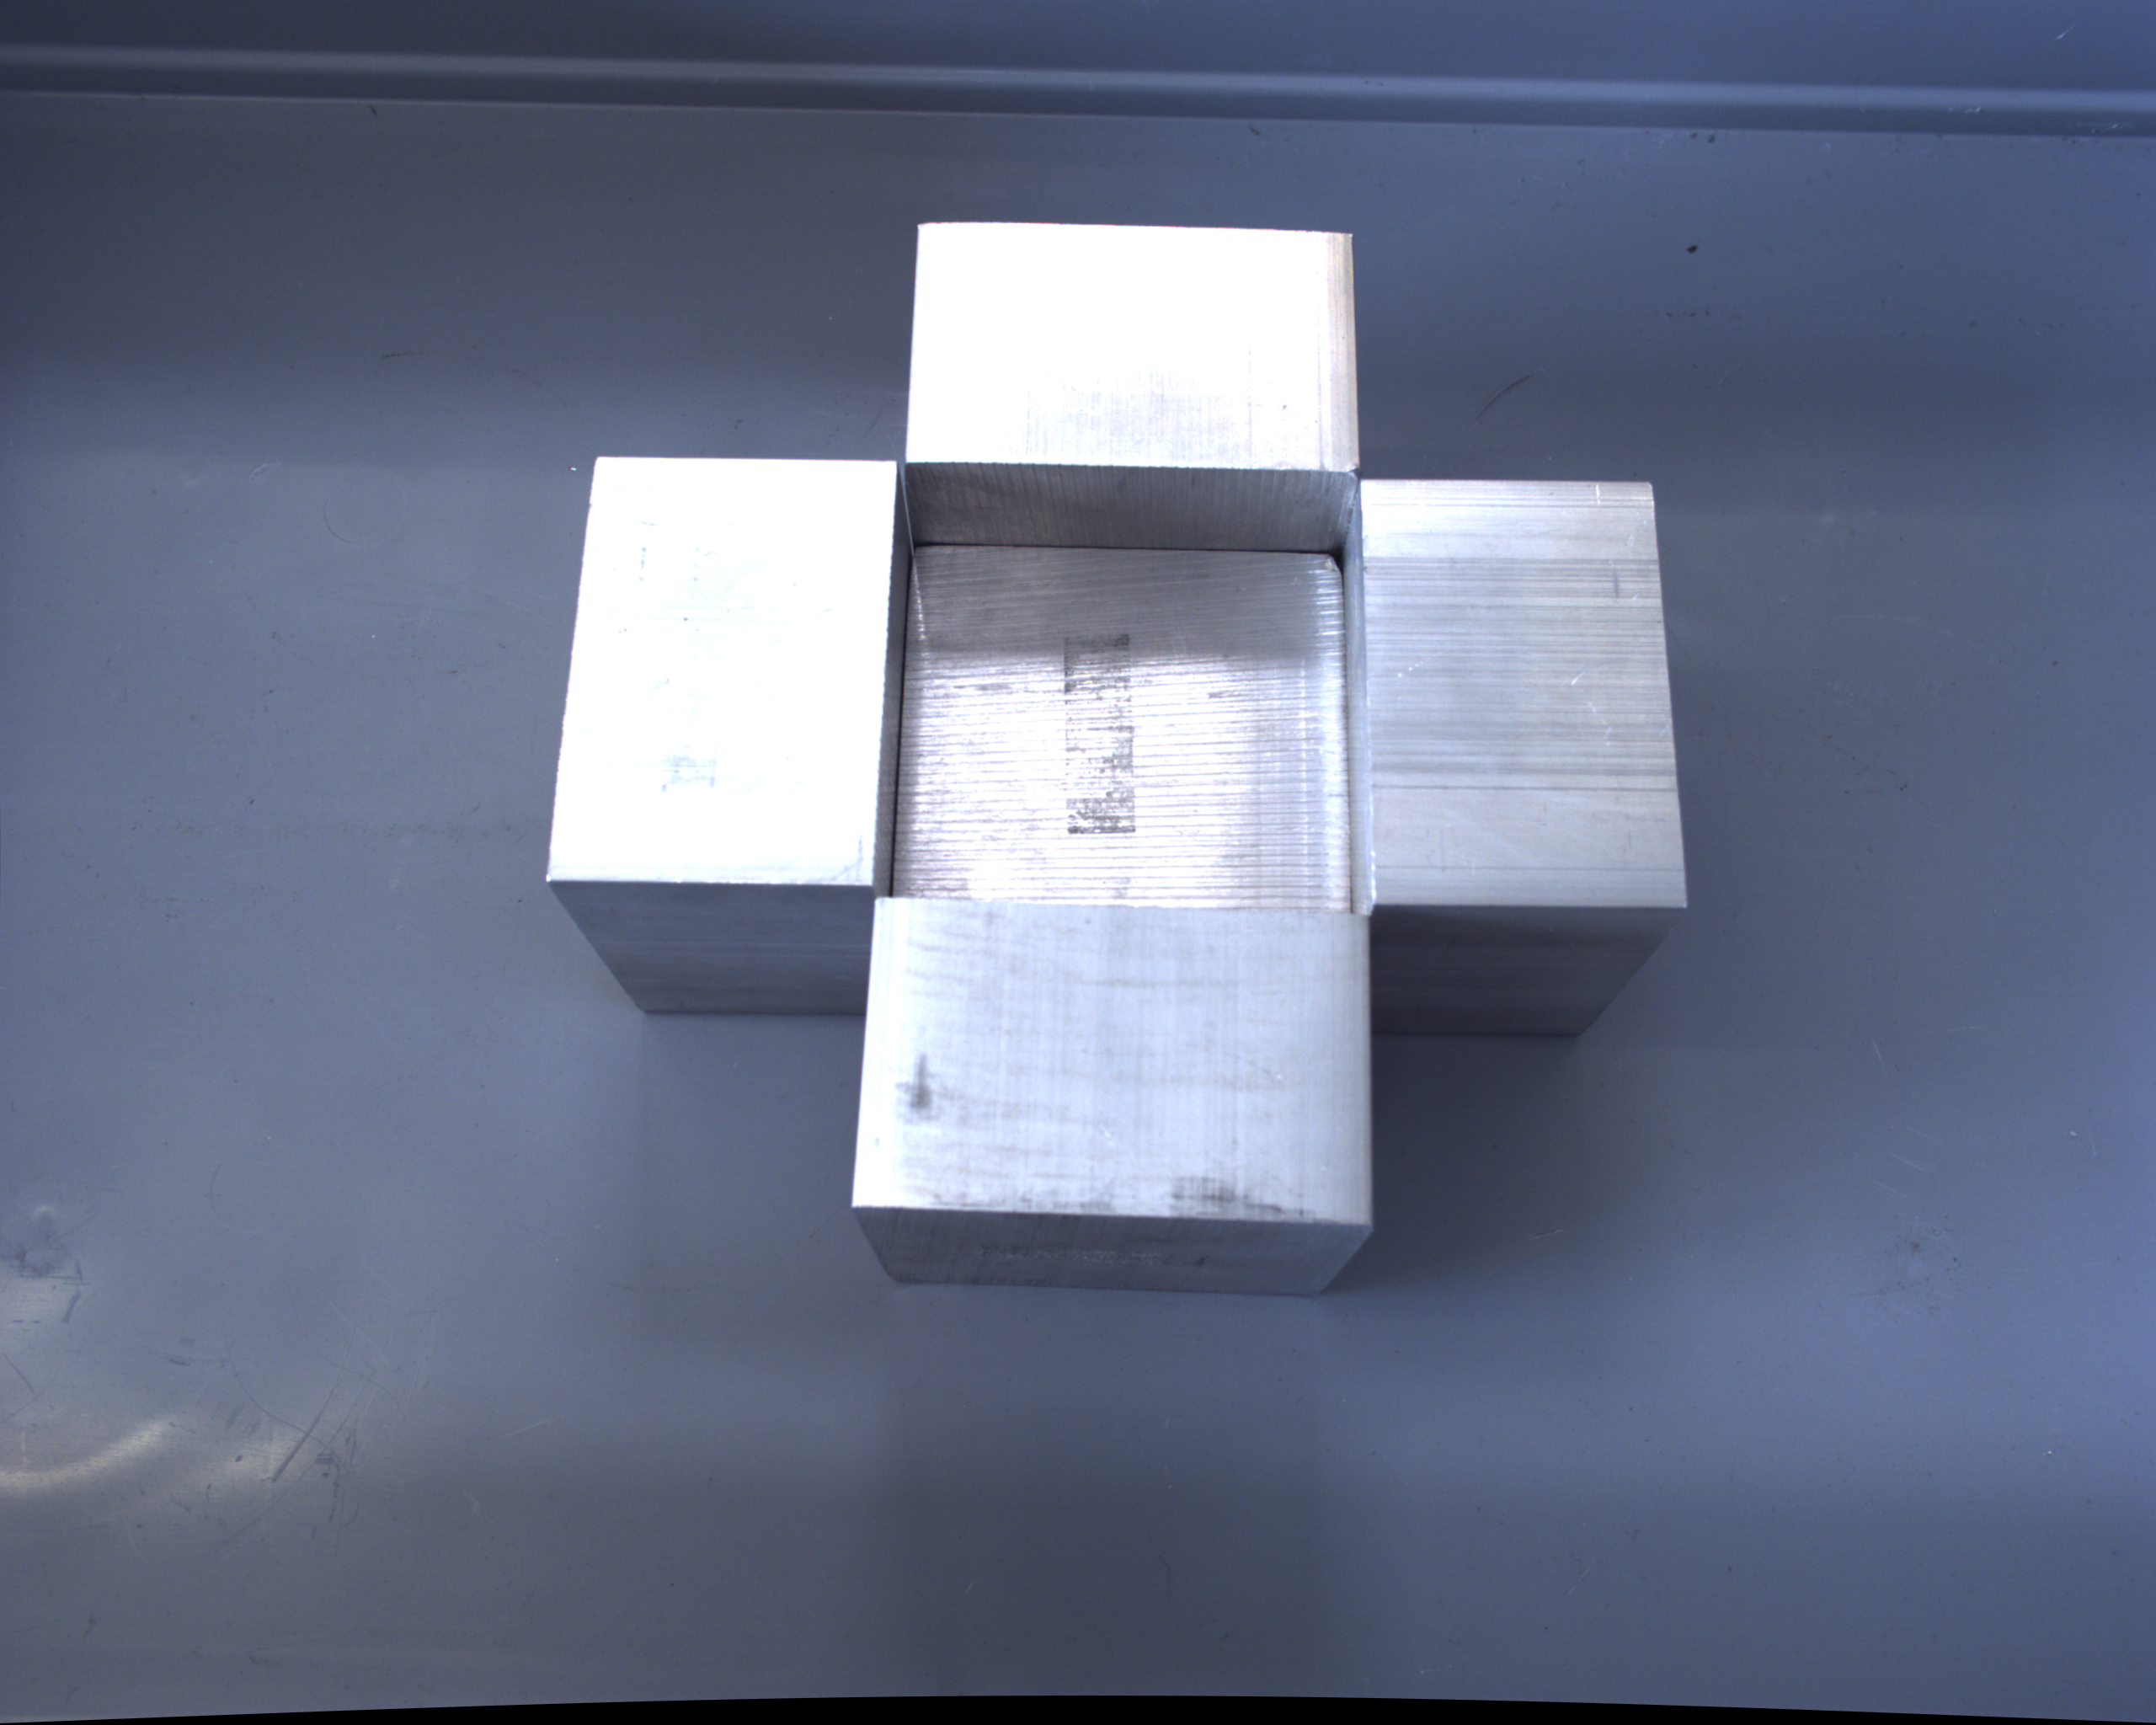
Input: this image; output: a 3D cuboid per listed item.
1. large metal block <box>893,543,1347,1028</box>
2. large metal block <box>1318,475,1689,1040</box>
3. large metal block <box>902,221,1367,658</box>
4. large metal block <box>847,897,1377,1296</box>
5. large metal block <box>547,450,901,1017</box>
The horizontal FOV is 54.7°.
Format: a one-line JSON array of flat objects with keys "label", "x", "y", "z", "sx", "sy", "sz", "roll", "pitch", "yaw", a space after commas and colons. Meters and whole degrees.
[{"label": "large metal block", "x": 0.008, "y": -0.013, "z": 0.399, "sx": 0.080, "sy": 0.050, "sz": 0.080, "roll": 1, "pitch": 70, "yaw": 0}, {"label": "large metal block", "x": 0.074, "y": -0.016, "z": 0.386, "sx": 0.050, "sy": 0.080, "sz": 0.080, "roll": 1, "pitch": 70, "yaw": 0}, {"label": "large metal block", "x": 0.010, "y": -0.079, "z": 0.408, "sx": 0.080, "sy": 0.080, "sz": 0.050, "roll": 1, "pitch": 70, "yaw": 0}, {"label": "large metal block", "x": 0.006, "y": 0.043, "z": 0.363, "sx": 0.080, "sy": 0.080, "sz": 0.050, "roll": 2, "pitch": 70, "yaw": 0}, {"label": "large metal block", "x": -0.059, "y": -0.021, "z": 0.387, "sx": 0.050, "sy": 0.080, "sz": 0.080, "roll": 1, "pitch": 70, "yaw": 0}]
